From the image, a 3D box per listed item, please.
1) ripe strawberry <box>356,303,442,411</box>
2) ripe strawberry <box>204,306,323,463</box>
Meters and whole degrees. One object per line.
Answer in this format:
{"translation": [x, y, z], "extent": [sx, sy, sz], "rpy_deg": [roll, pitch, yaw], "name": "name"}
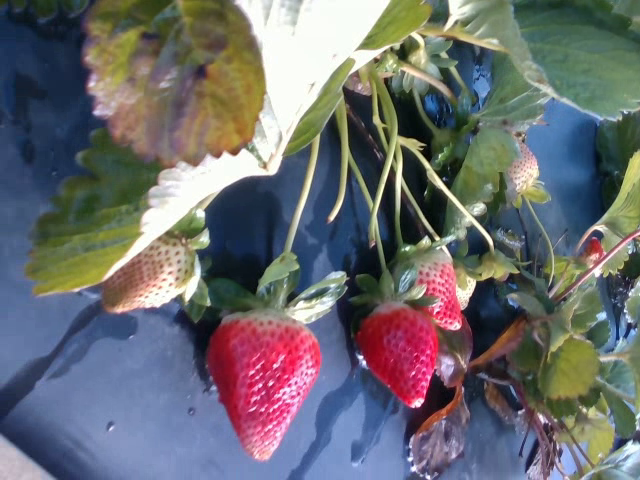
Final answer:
{"translation": [0.039, 0.060, 0.293], "extent": [0.044, 0.055, 0.042], "rpy_deg": [-8, -28, -9], "name": "ripe strawberry"}
{"translation": [-0.023, 0.058, 0.233], "extent": [0.050, 0.065, 0.050], "rpy_deg": [15, -38, -17], "name": "ripe strawberry"}
